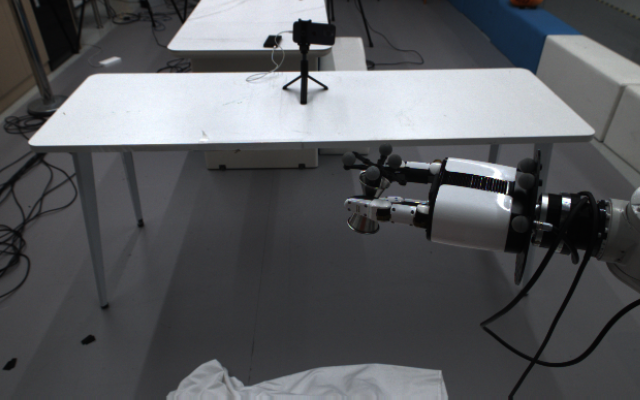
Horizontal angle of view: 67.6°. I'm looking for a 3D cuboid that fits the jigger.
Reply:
[{"bbox_3d":[0.062,0.003,0.624,0.043,0.071,0.043,9,30,-5],"label":"jigger"}]
